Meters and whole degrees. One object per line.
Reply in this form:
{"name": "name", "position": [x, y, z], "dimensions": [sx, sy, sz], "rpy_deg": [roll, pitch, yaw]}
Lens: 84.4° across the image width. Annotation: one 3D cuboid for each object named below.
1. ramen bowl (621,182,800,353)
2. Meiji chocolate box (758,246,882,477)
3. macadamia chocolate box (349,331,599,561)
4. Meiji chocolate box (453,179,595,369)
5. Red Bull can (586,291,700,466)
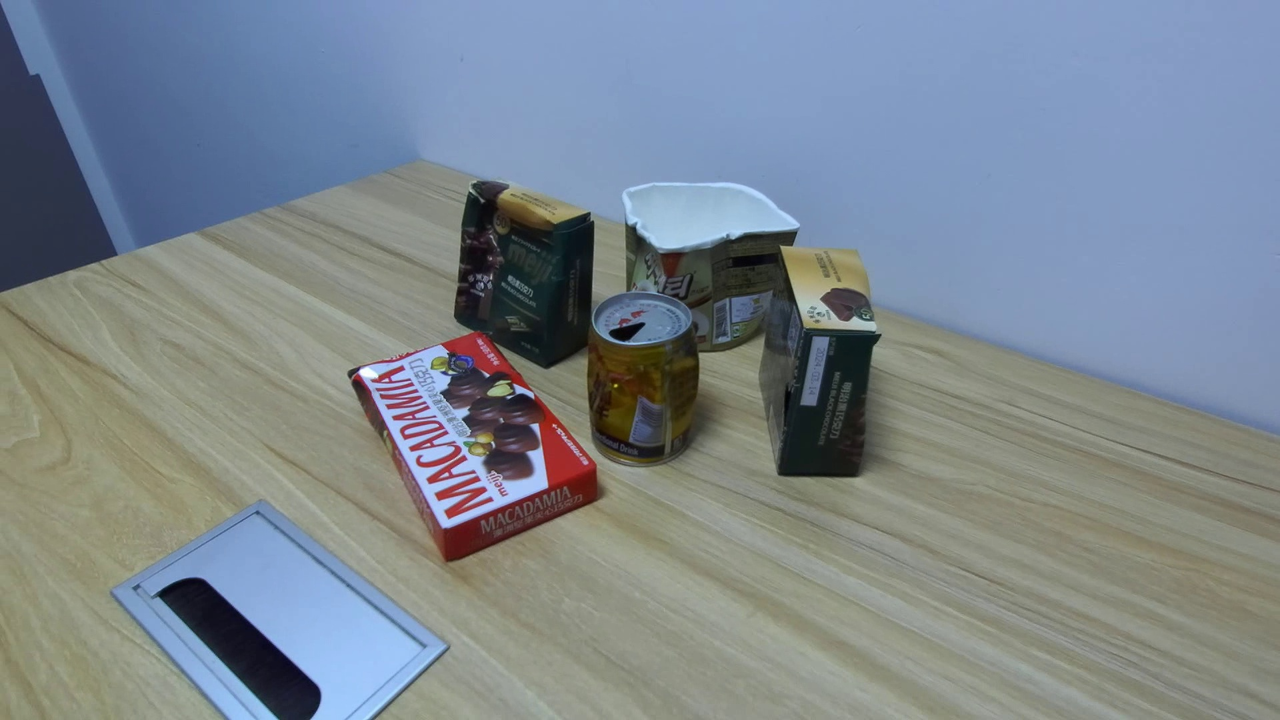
{"name": "ramen bowl", "position": [0.042, -0.081, 0.570], "dimensions": [0.114, 0.098, 0.133], "rpy_deg": [-19, 41, -24]}
{"name": "Meiji chocolate box", "position": [0.115, 0.000, 0.446], "dimensions": [0.058, 0.111, 0.113], "rpy_deg": [2, 34, 1]}
{"name": "macadamia chocolate box", "position": [-0.110, 0.042, 0.455], "dimensions": [0.106, 0.028, 0.182], "rpy_deg": [-19, 39, -28]}
{"name": "Meiji chocolate box", "position": [-0.088, -0.069, 0.539], "dimensions": [0.117, 0.117, 0.052], "rpy_deg": [25, 33, 31]}
{"name": "Red Bull can", "position": [0.000, 0.011, 0.440], "dimensions": [0.072, 0.092, 0.072], "rpy_deg": [1, 36, -1]}
